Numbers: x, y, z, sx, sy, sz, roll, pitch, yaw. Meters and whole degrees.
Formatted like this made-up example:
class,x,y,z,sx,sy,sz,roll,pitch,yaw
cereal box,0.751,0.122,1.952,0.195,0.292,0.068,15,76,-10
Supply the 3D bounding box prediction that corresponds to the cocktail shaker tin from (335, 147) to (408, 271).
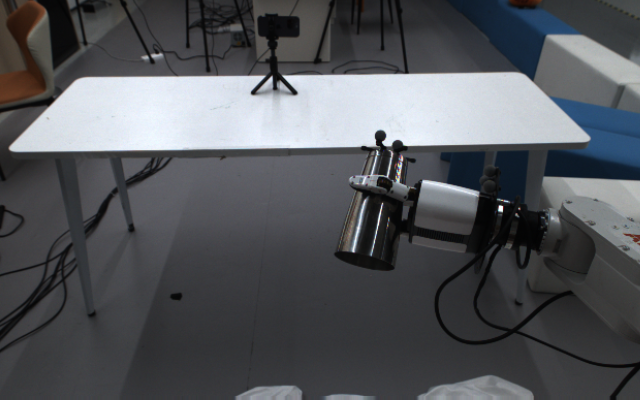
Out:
class,x,y,z,sx,sy,sz,roll,pitch,yaw
cocktail shaker tin,0.086,0.012,0.737,0.093,0.093,0.170,11,72,12
